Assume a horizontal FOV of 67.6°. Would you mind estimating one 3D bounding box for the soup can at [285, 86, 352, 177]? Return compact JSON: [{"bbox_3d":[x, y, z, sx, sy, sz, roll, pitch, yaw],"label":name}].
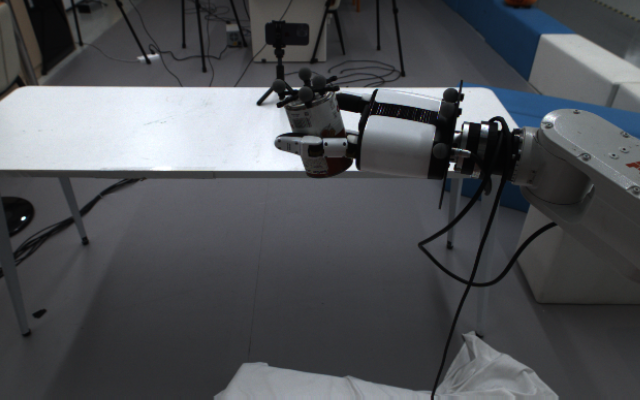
[{"bbox_3d":[-0.001,-0.088,0.627,0.067,0.101,0.067,-13,31,8],"label":"soup can"}]
